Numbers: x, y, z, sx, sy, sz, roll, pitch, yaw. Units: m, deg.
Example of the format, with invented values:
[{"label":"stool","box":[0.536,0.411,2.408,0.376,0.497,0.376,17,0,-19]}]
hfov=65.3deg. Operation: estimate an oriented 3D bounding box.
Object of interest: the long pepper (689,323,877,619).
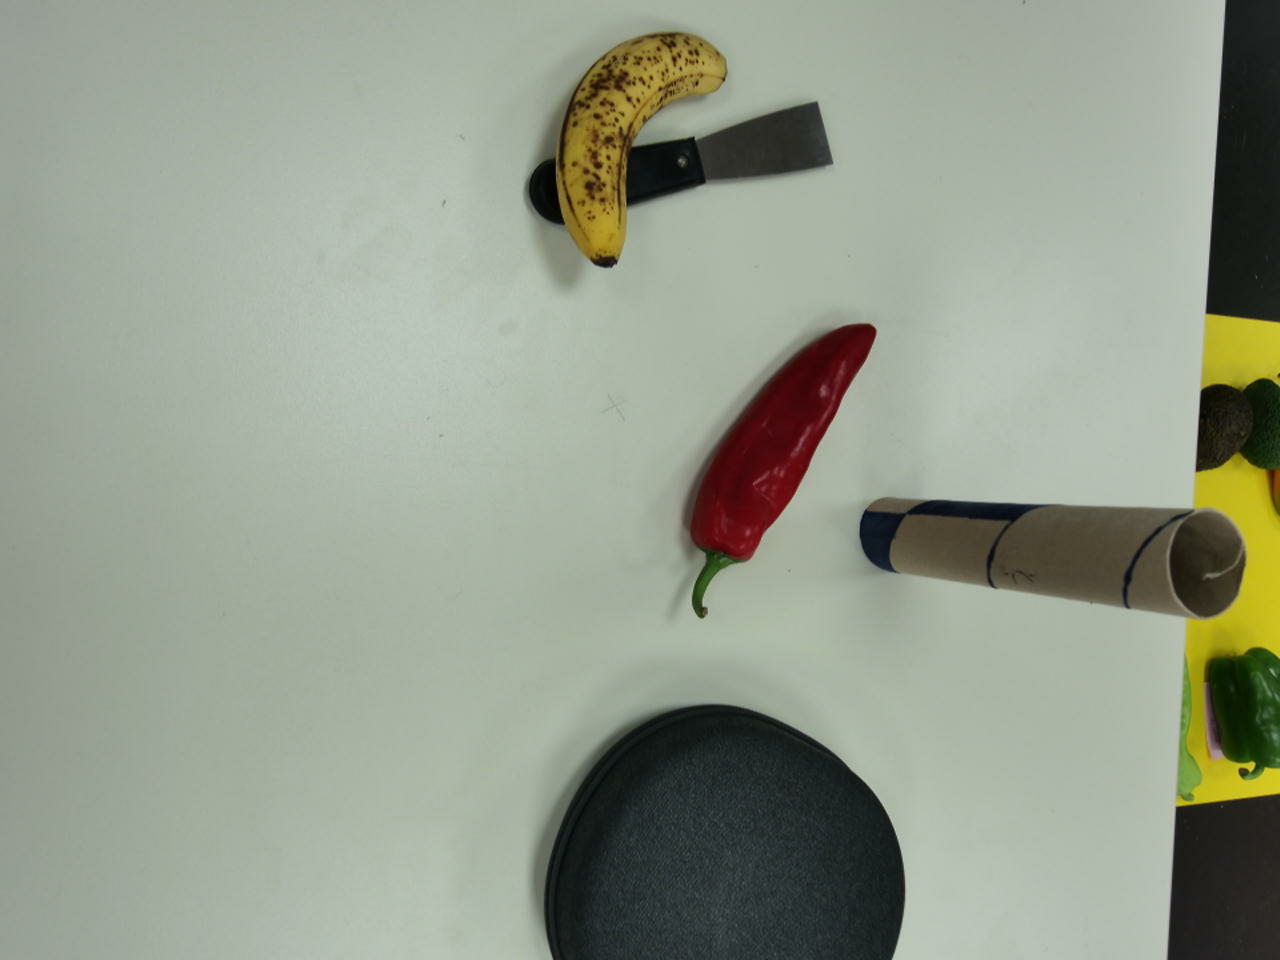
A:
[{"label":"long pepper","box":[0.077,-0.015,0.584,0.050,0.043,0.211,39,77,-18]}]
